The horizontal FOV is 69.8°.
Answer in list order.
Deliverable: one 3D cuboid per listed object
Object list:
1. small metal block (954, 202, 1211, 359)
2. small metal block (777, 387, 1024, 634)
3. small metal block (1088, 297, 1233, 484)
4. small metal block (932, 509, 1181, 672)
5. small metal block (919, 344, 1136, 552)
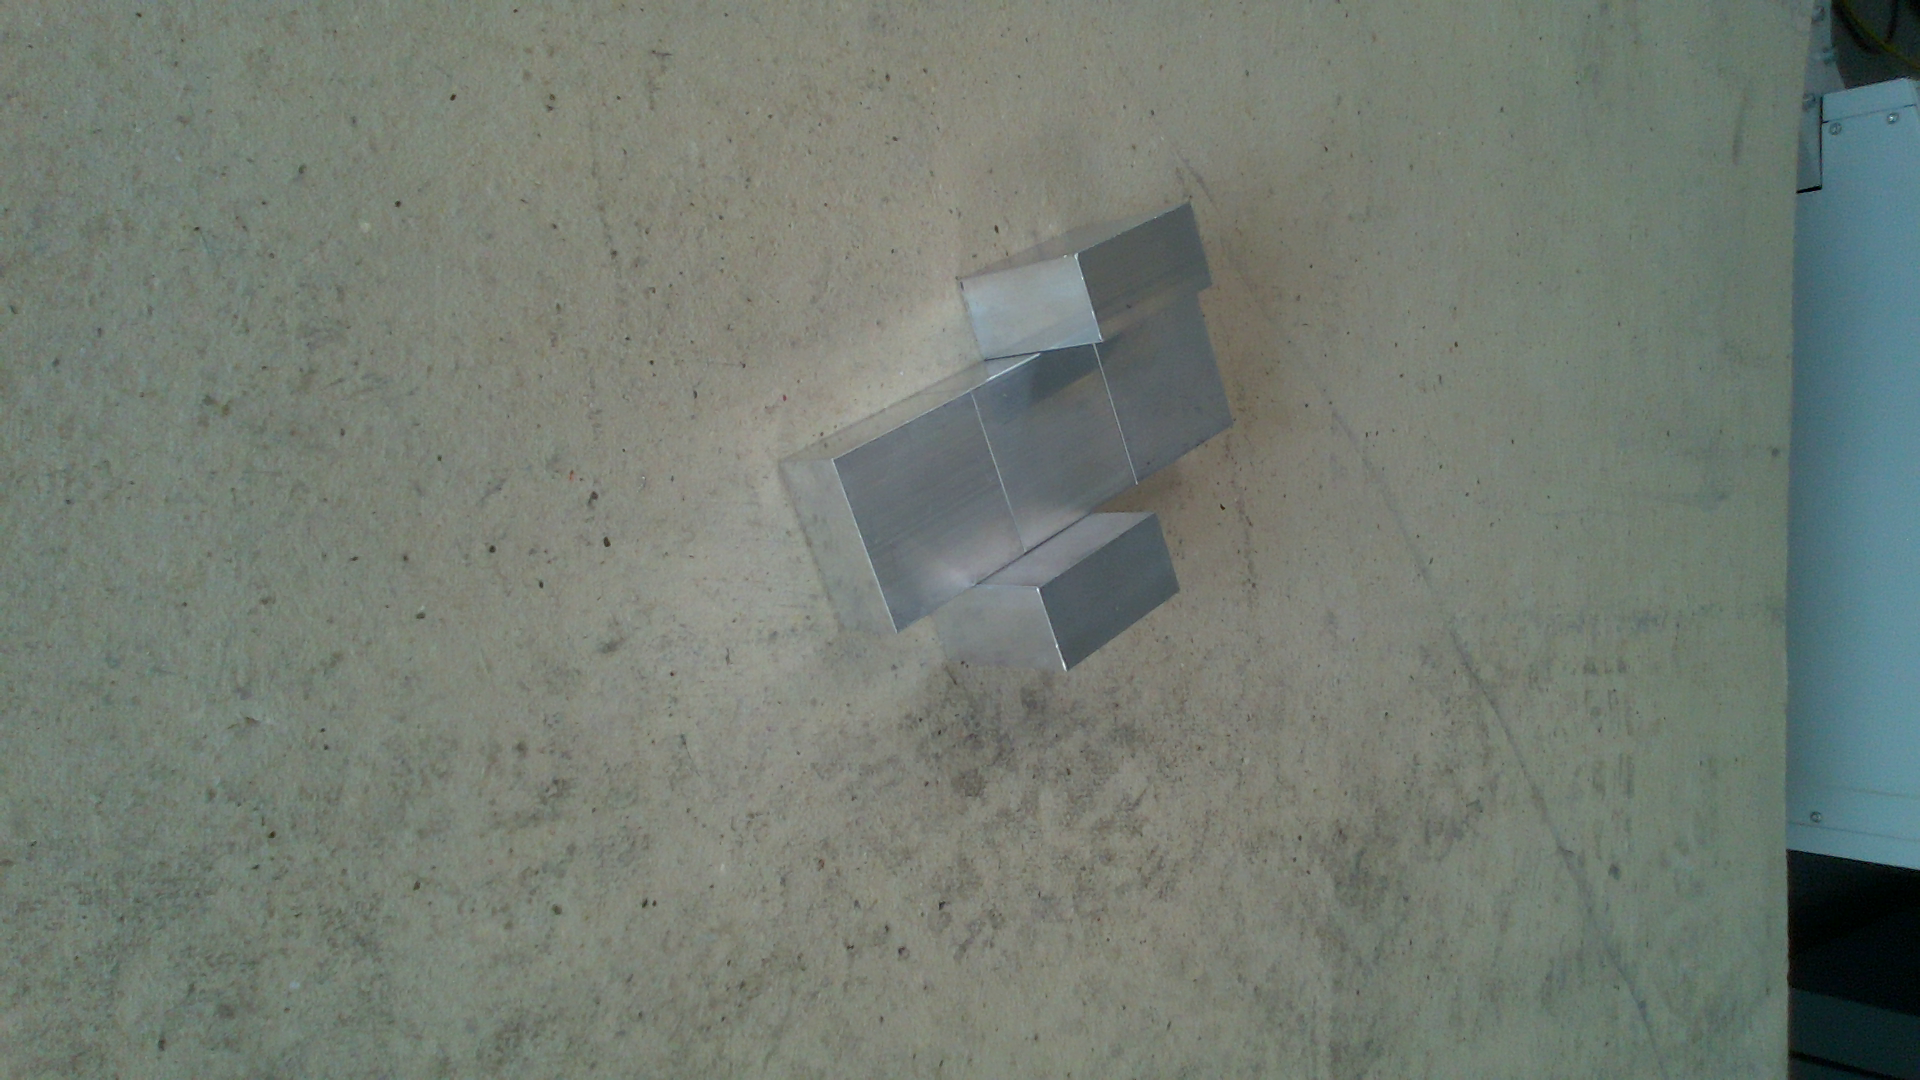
[{"bbox_3d":[0.036,-0.076,0.403,0.050,0.050,0.025,-30,109,-35],"label":"small metal block"},{"bbox_3d":[-0.015,-0.009,0.376,0.050,0.025,0.050,-31,109,-36],"label":"small metal block"},{"bbox_3d":[0.055,-0.050,0.435,0.050,0.025,0.050,-31,109,-36],"label":"small metal block"},{"bbox_3d":[0.026,0.013,0.395,0.050,0.050,0.025,-31,109,-35],"label":"small metal block"},{"bbox_3d":[0.020,-0.030,0.406,0.050,0.025,0.050,-31,109,-36],"label":"small metal block"}]
